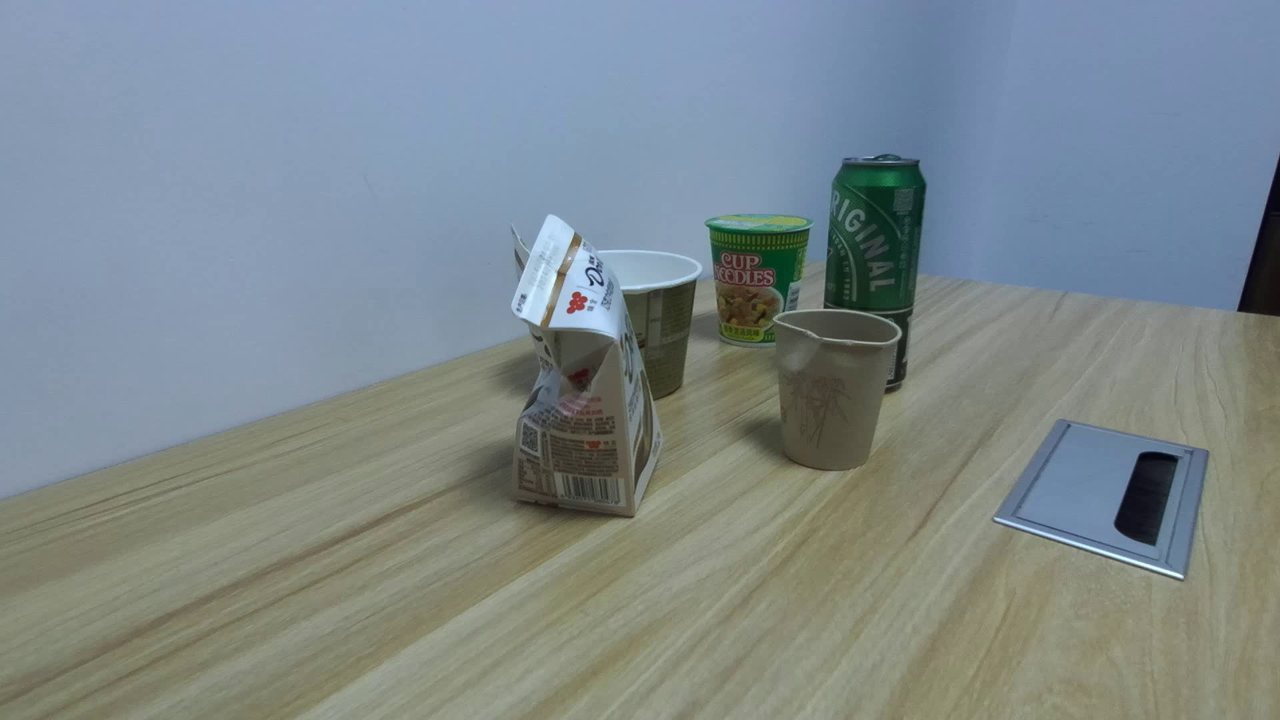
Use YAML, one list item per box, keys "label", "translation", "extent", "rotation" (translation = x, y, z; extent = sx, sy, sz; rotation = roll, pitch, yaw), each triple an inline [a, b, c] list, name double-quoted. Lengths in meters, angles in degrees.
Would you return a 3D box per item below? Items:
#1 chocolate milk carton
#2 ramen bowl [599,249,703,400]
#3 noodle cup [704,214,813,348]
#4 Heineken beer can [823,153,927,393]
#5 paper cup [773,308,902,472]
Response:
- label: "chocolate milk carton"
  translation: [-0.036, 0.006, 0.387]
  extent: [0.076, 0.156, 0.089]
  rotation: [-1, 33, 12]
- label: "ramen bowl"
  translation: [-0.022, -0.026, 0.558]
  extent: [0.140, 0.095, 0.140]
  rotation: [1, 18, 0]
- label: "noodle cup"
  translation: [0.109, -0.072, 0.649]
  extent: [0.097, 0.110, 0.097]
  rotation: [-1, 17, 1]
- label: "Heineken beer can"
  translation: [0.173, -0.062, 0.530]
  extent: [0.067, 0.169, 0.067]
  rotation: [-1, 17, 1]
- label: "paper cup"
  translation: [0.115, 0.017, 0.431]
  extent: [0.073, 0.081, 0.069]
  rotation: [1, 19, 5]
